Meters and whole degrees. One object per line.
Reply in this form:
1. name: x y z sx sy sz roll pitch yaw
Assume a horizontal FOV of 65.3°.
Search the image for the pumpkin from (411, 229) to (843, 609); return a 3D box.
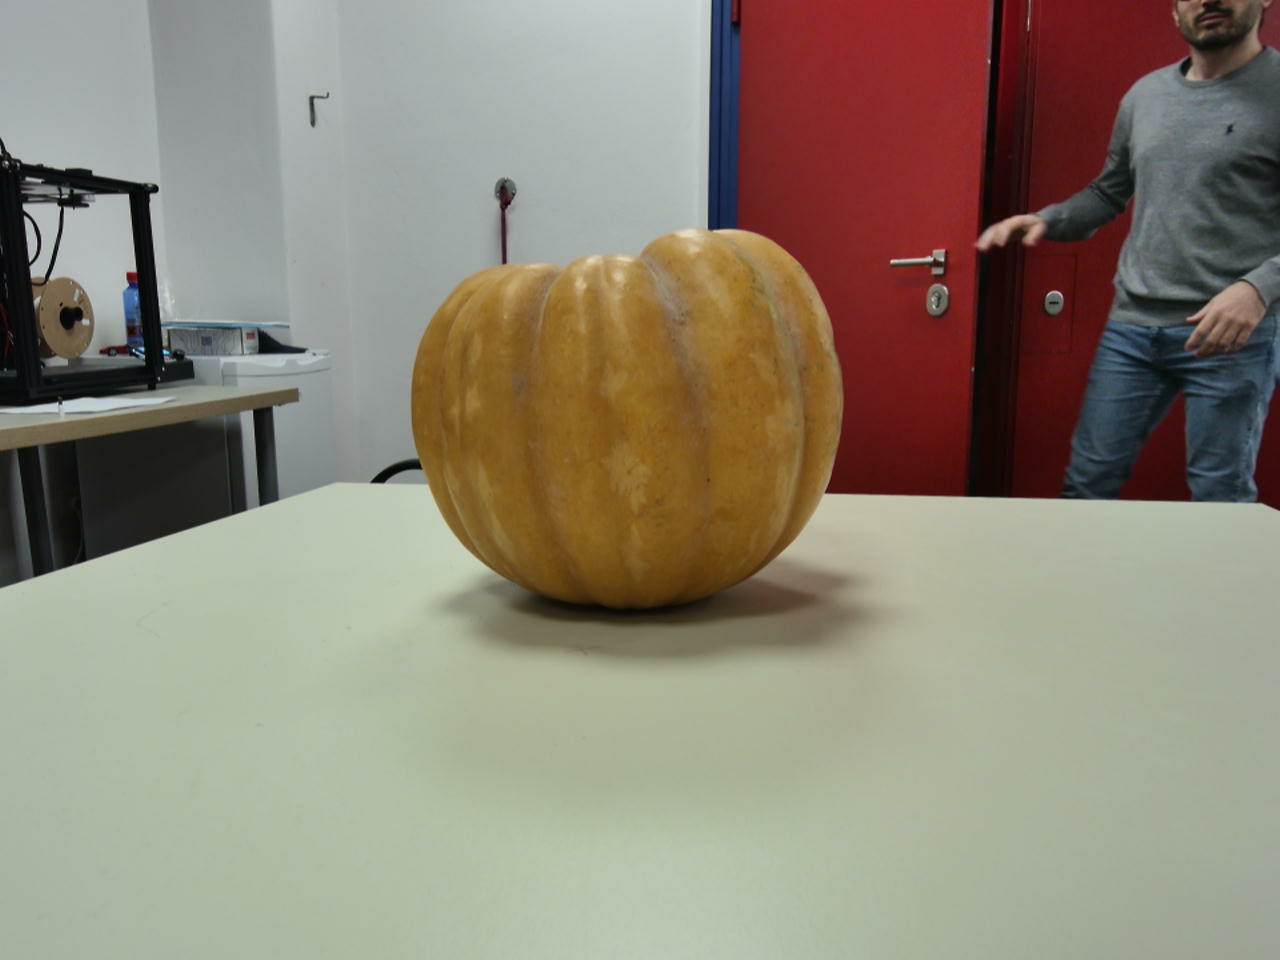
1. pumpkin: -0.004 -0.032 0.538 0.230 0.194 0.230 -1 6 0
